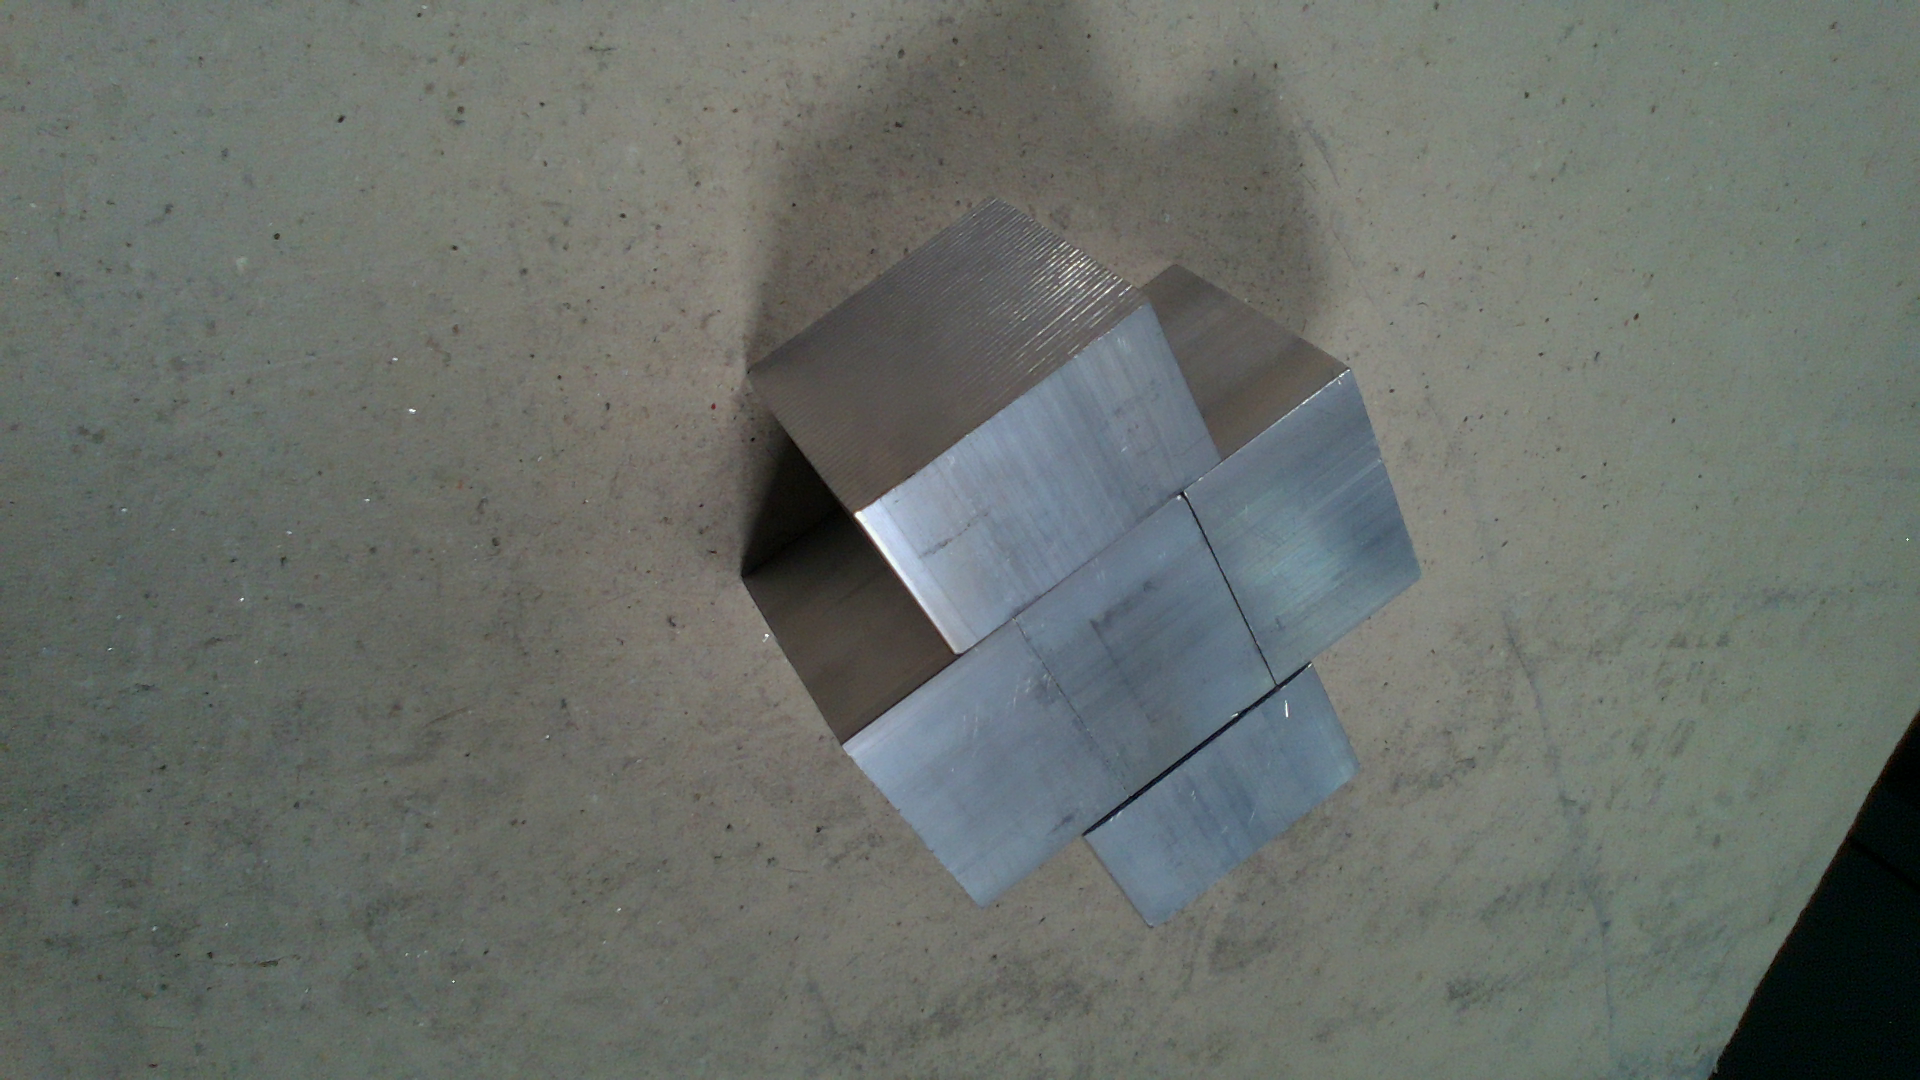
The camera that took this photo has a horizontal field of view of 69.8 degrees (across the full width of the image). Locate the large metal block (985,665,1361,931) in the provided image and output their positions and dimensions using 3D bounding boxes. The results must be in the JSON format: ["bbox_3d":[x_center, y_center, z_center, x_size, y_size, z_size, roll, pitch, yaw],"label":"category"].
[{"bbox_3d":[0.060,0.055,0.421,0.080,0.080,0.050,-36,129,-4],"label":"large metal block"}]

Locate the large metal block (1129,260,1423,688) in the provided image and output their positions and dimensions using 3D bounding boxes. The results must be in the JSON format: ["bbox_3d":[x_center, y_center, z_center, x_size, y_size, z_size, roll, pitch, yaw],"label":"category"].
[{"bbox_3d":[0.074,-0.020,0.382,0.050,0.080,0.080,-36,129,-4],"label":"large metal block"}]

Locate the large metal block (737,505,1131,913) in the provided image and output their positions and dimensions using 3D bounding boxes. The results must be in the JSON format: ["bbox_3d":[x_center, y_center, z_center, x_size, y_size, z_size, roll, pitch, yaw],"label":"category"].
[{"bbox_3d":[-0.008,0.040,0.375,0.050,0.080,0.080,-36,129,-4],"label":"large metal block"}]

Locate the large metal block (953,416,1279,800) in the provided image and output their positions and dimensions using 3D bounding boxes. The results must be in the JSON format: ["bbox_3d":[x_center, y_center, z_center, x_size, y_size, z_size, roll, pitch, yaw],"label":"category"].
[{"bbox_3d":[0.033,0.010,0.379,0.050,0.080,0.080,-36,129,-4],"label":"large metal block"}]

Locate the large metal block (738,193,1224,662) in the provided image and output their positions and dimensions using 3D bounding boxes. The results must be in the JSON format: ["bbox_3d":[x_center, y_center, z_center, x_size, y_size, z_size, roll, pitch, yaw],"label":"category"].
[{"bbox_3d":[0.003,-0.031,0.337,0.080,0.080,0.050,-36,129,-4],"label":"large metal block"}]
